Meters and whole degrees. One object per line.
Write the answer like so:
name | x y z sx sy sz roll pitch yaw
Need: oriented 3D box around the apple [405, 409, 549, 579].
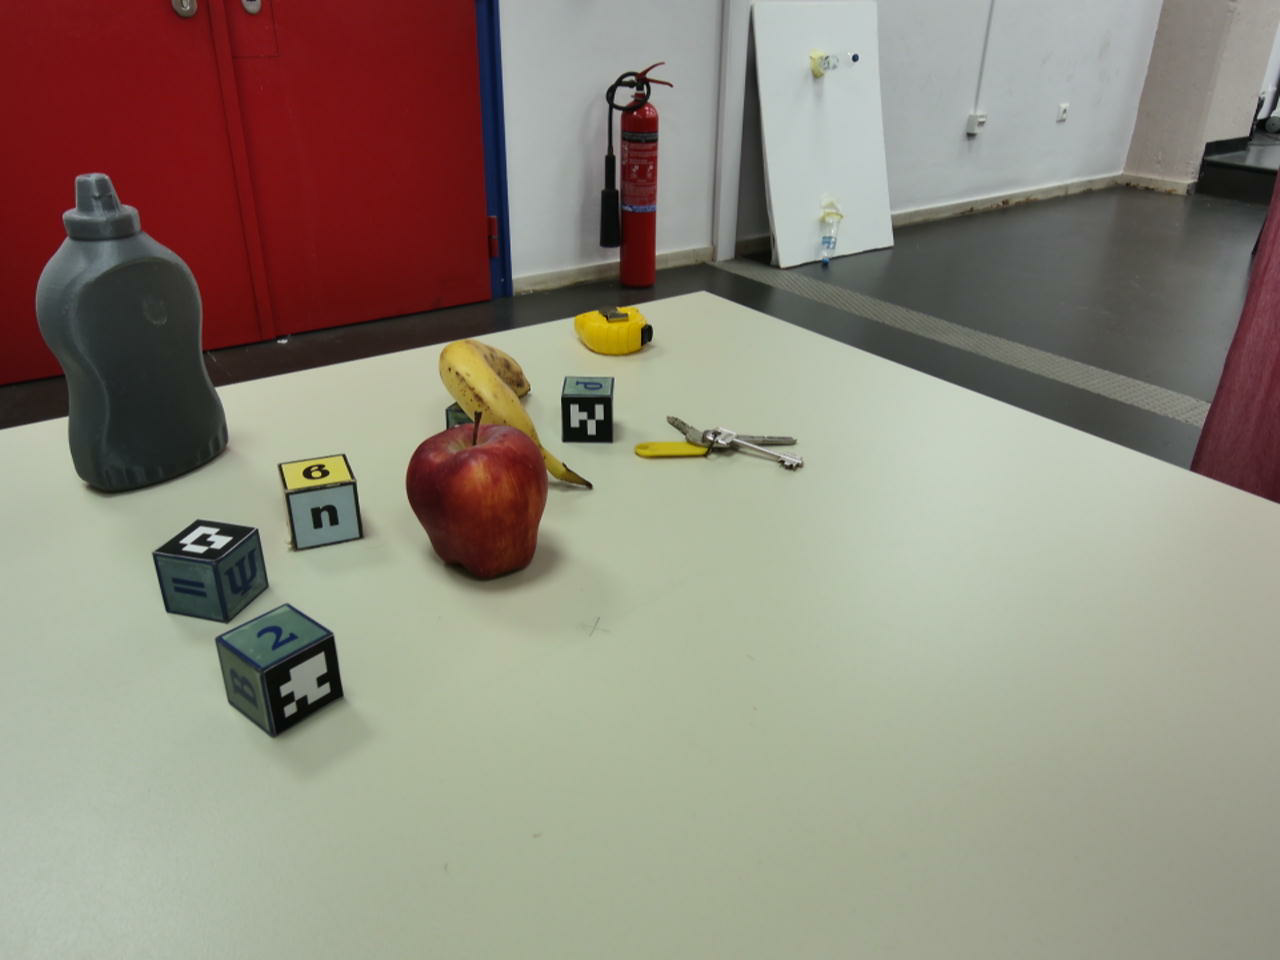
apple | -0.091 0.005 0.559 0.083 0.090 0.083 0 26 0
